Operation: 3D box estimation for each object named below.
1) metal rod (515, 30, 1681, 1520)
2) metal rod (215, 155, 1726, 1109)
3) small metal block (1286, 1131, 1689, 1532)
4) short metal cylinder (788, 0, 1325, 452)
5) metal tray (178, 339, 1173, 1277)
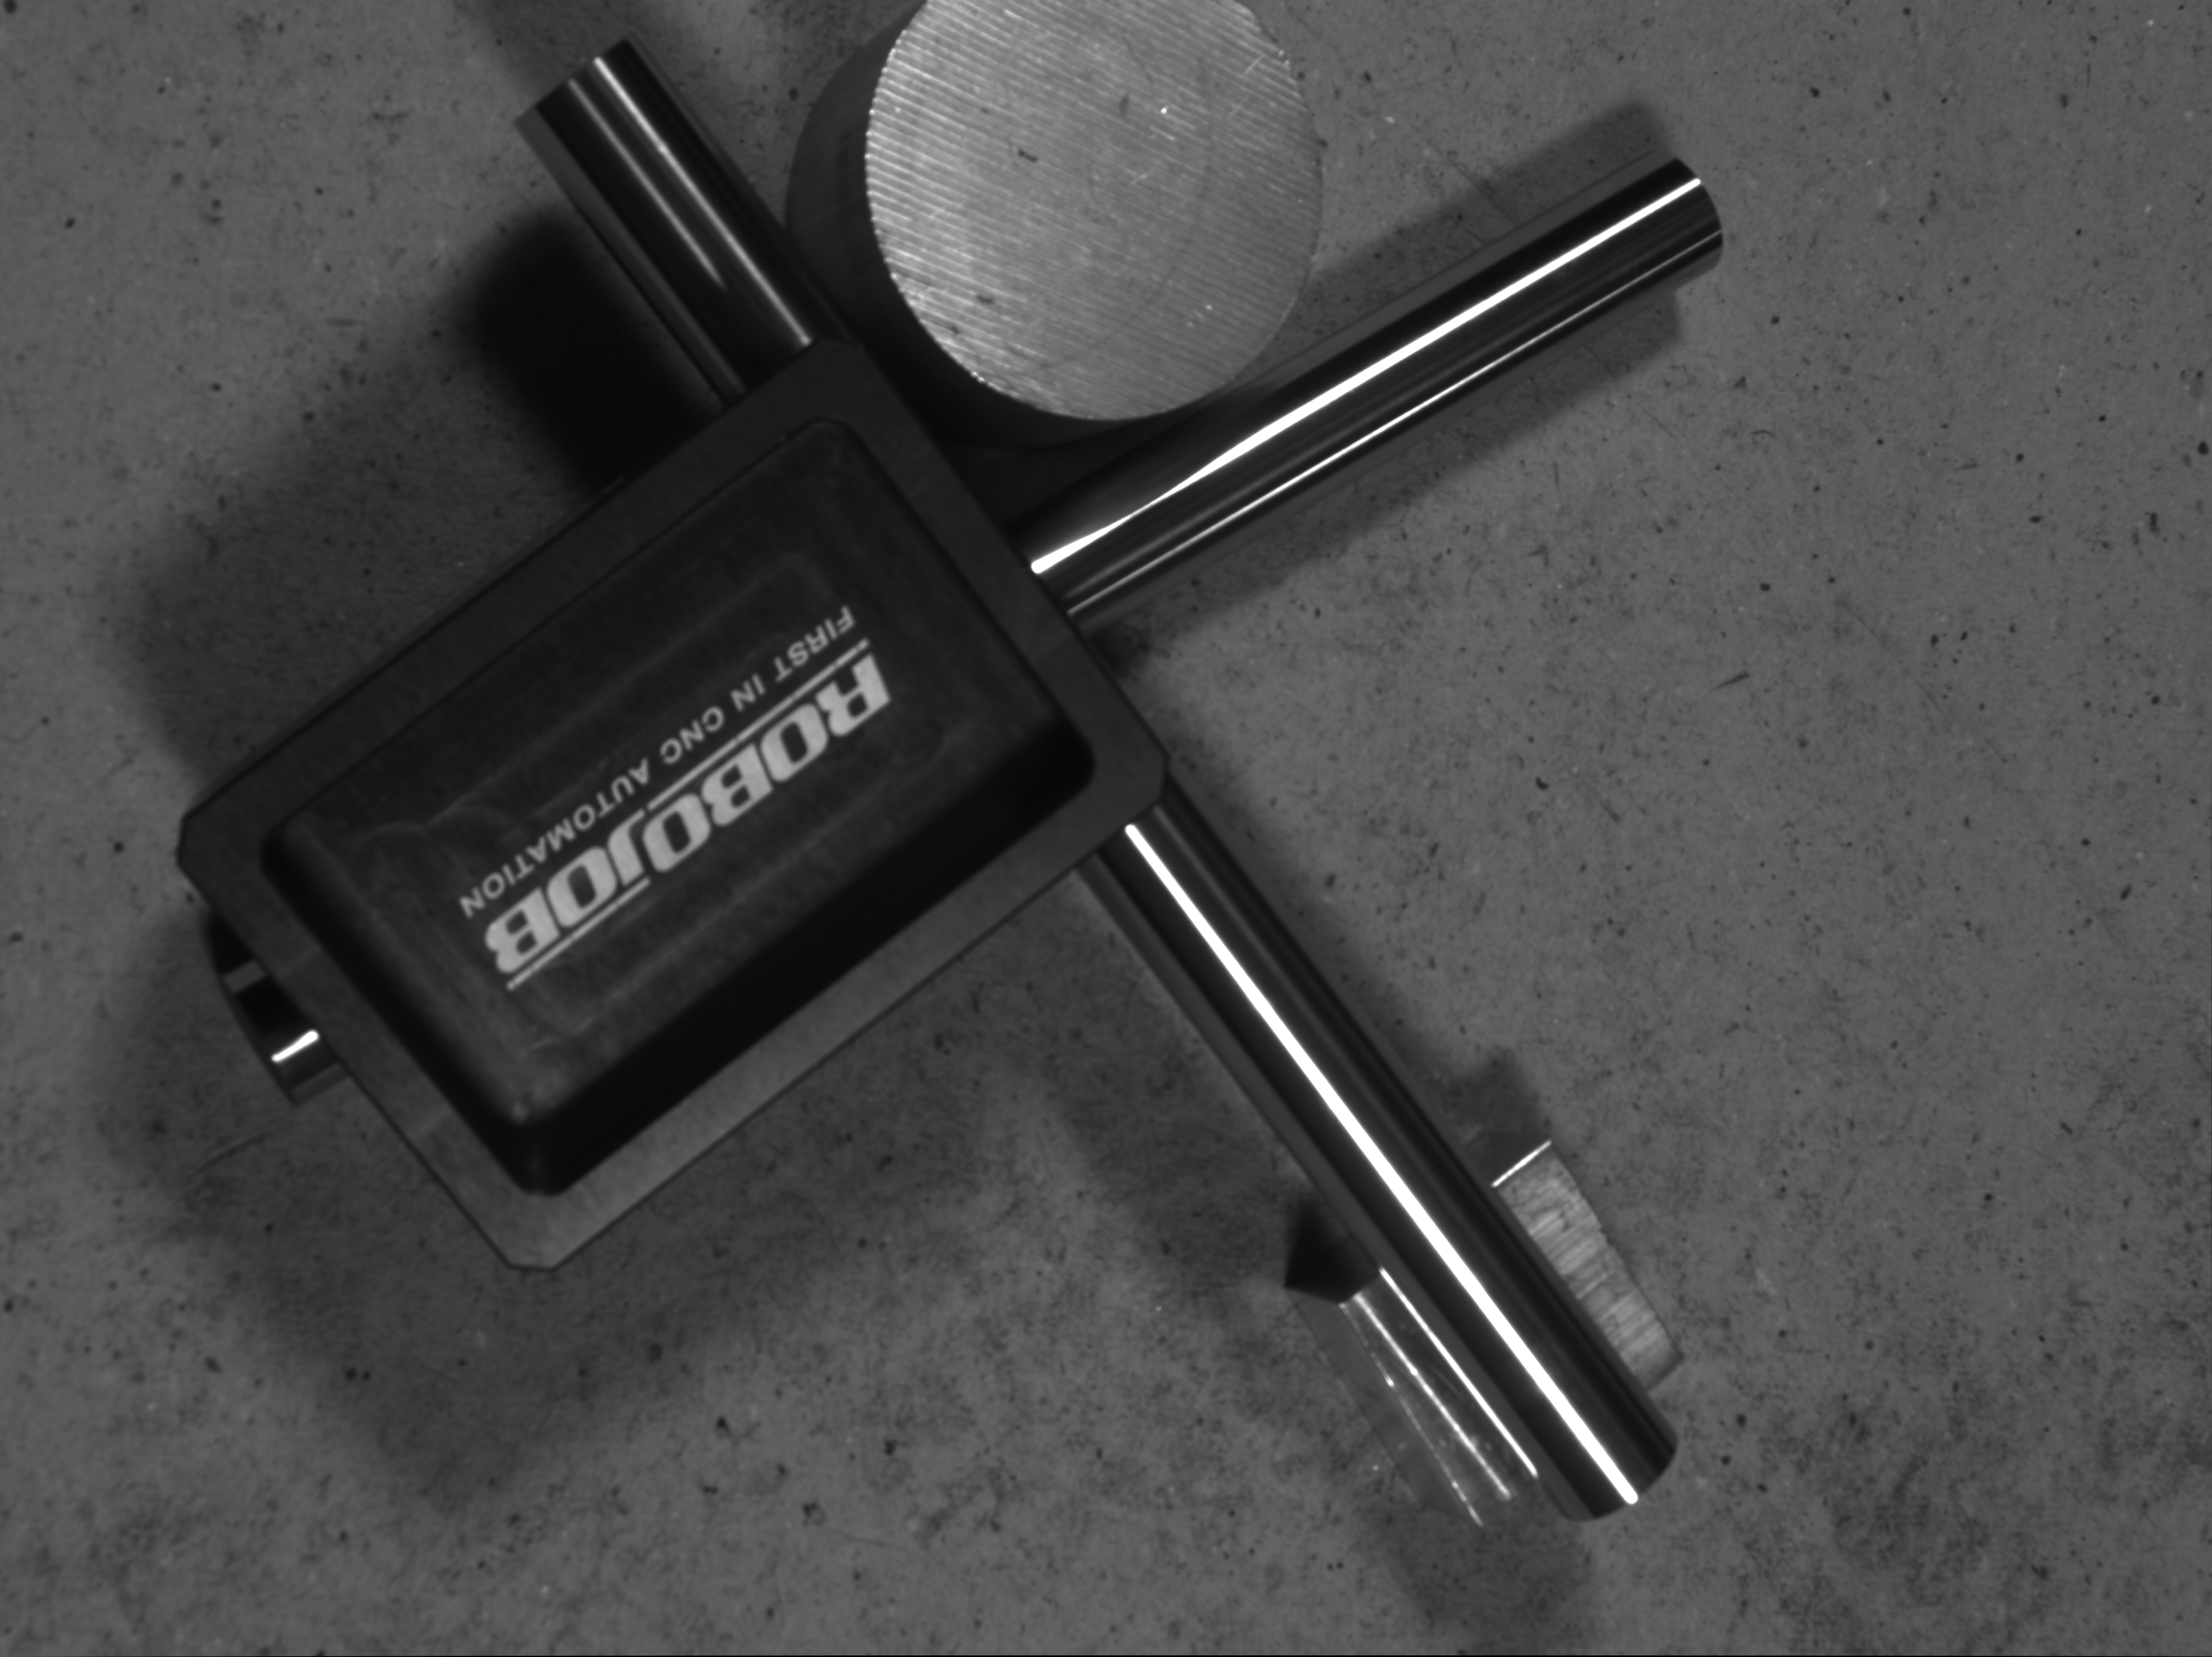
[{"bbox_3d":[0.003,-0.003,0.619,0.025,0.025,0.300,-40,103,-15],"label":"metal rod"},{"bbox_3d":[-0.015,-0.040,0.638,0.300,0.025,0.025,-31,100,-17],"label":"metal rod"},{"bbox_3d":[0.070,0.091,0.668,0.050,0.025,0.050,-35,101,-17],"label":"small metal block"},{"bbox_3d":[-0.009,-0.107,0.626,0.080,0.050,0.080,0,90,-20],"label":"short metal cylinder"},{"bbox_3d":[-0.067,-0.004,0.576,0.130,0.030,0.090,-38,102,-4],"label":"metal tray"}]
